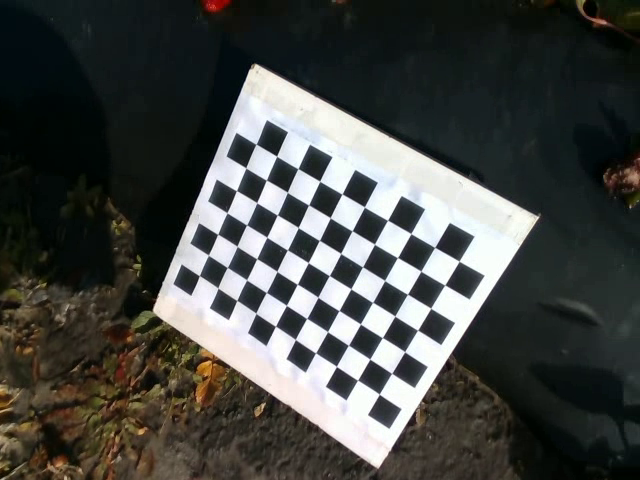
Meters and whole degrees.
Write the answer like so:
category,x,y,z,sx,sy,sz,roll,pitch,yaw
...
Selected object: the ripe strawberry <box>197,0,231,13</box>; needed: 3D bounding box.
category,x,y,z,sx,sy,sz,roll,pitch,yaw
ripe strawberry,-0.104,-0.215,0.508,0.040,0.056,0.040,-23,-45,24
